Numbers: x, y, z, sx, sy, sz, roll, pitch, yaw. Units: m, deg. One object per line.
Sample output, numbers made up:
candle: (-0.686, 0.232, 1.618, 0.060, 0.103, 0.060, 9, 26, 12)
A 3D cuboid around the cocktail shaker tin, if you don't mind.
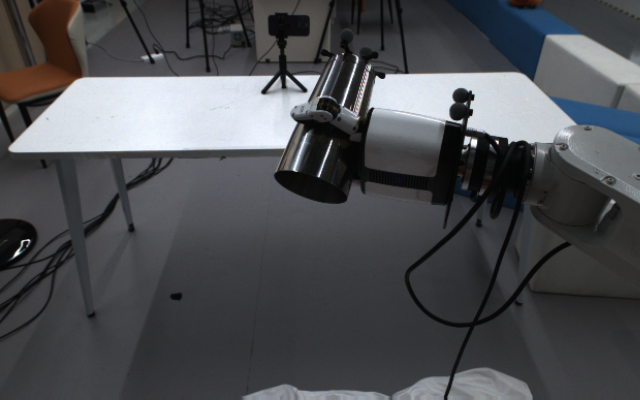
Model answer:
cocktail shaker tin: (0.015, -0.090, 0.597, 0.093, 0.093, 0.170, 14, 73, 16)
